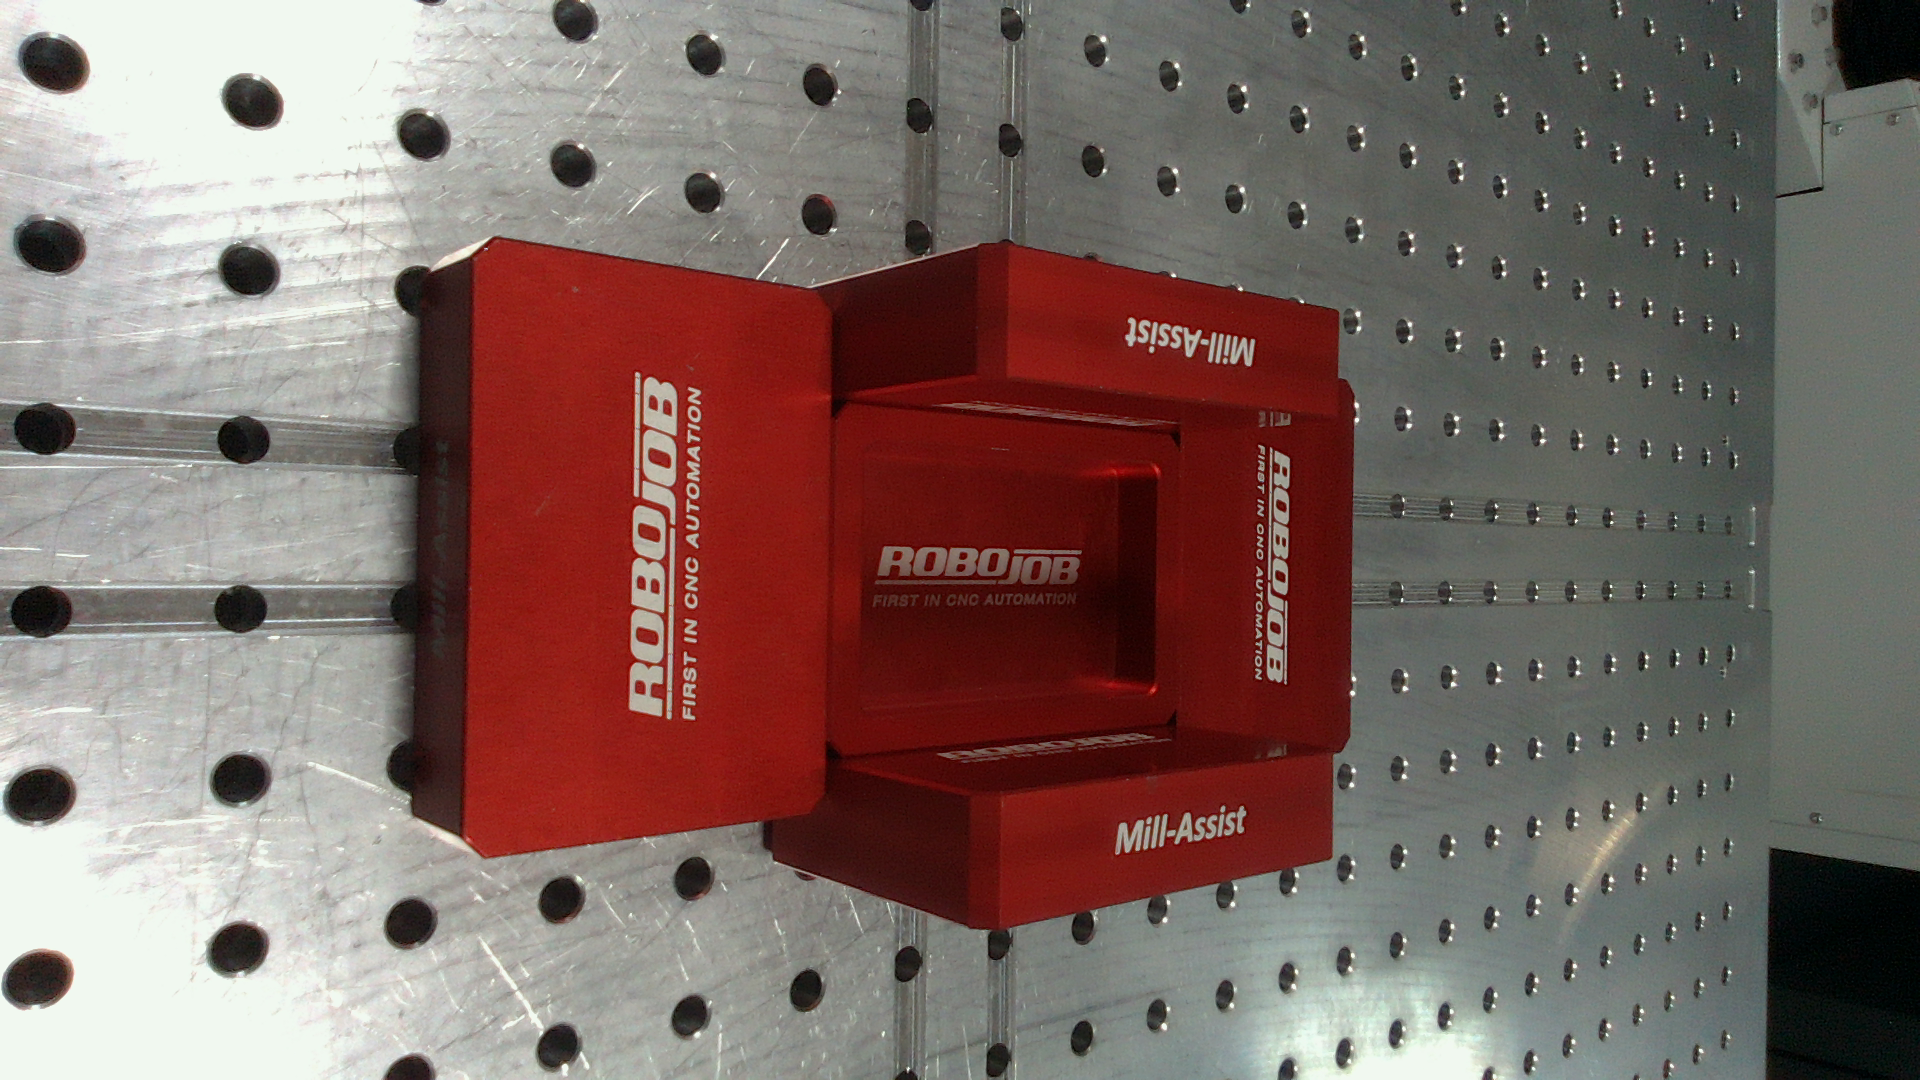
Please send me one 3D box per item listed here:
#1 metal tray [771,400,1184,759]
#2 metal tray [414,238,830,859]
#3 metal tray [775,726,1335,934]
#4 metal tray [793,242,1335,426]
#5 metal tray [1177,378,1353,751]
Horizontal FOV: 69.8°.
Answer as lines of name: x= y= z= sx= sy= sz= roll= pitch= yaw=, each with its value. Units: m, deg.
metal tray: x=0.010 y=0.010 z=0.394 sx=0.131 sy=0.030 sz=0.090 roll=1 pitch=89 yaw=-40
metal tray: x=-0.077 y=0.002 z=0.324 sx=0.090 sy=0.030 sz=0.130 roll=1 pitch=89 yaw=-40
metal tray: x=0.027 y=0.071 z=0.371 sx=0.131 sy=0.090 sz=0.030 roll=1 pitch=89 yaw=-40
metal tray: x=0.028 y=-0.050 z=0.373 sx=0.131 sy=0.090 sz=0.030 roll=1 pitch=89 yaw=-40
metal tray: x=0.094 y=0.008 z=0.465 sx=0.090 sy=0.030 sz=0.130 roll=1 pitch=89 yaw=-41
